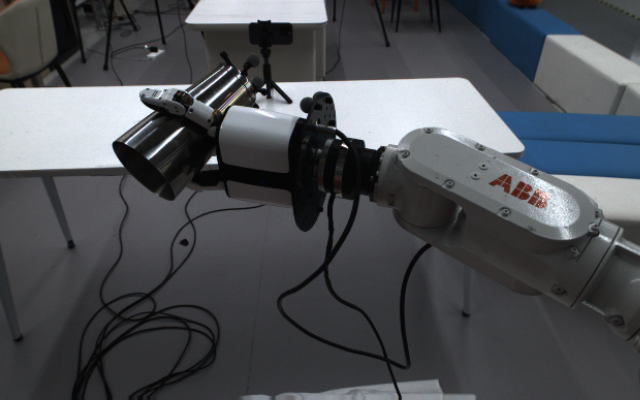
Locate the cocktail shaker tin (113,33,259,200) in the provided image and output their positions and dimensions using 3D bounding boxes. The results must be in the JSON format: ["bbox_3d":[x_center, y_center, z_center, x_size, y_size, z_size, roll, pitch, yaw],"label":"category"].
[{"bbox_3d":[-0.157,-0.097,0.593,0.093,0.093,0.170,23,57,27],"label":"cocktail shaker tin"}]
